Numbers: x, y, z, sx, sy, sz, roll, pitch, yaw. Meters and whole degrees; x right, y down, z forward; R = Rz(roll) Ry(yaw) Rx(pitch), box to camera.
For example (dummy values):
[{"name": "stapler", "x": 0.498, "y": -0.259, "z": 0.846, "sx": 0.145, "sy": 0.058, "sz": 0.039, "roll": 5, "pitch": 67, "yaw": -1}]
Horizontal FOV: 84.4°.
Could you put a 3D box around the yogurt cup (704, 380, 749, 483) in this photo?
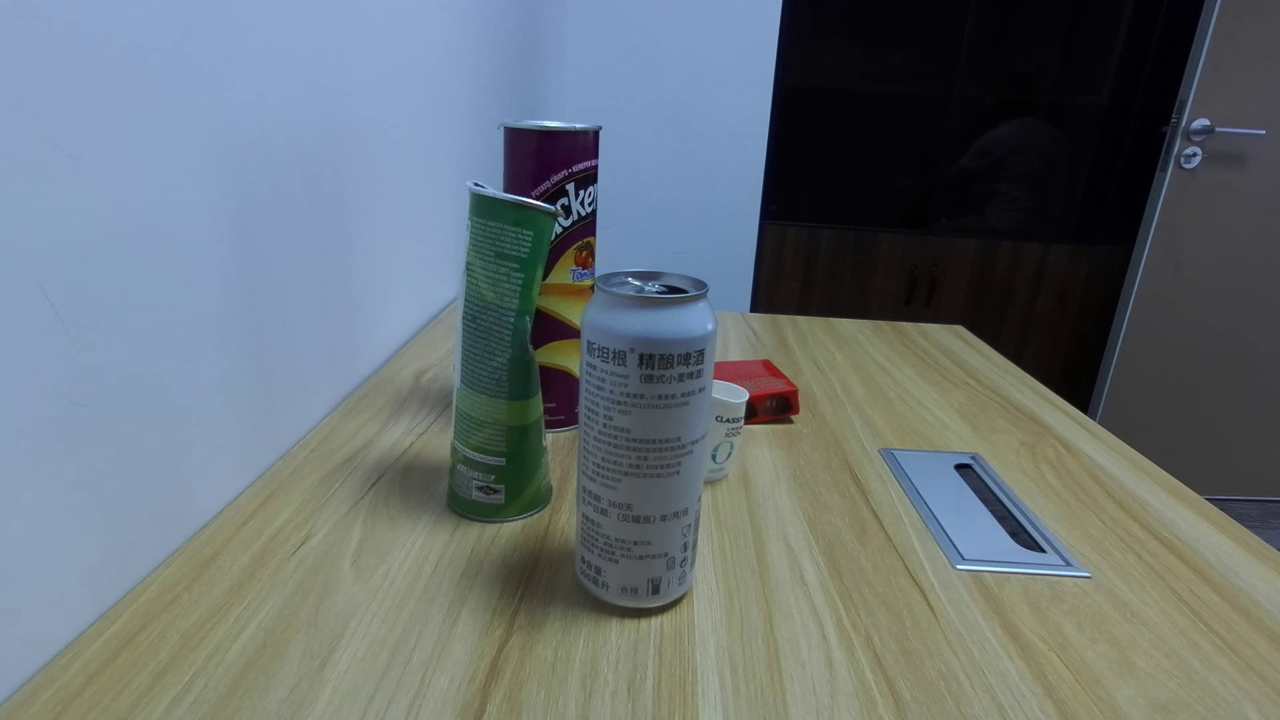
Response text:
[{"name": "yogurt cup", "x": 0.043, "y": 0.042, "z": 0.509, "sx": 0.075, "sy": 0.071, "sz": 0.054, "roll": 17, "pitch": 25, "yaw": 25}]

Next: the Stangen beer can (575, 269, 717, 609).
[{"name": "Stangen beer can", "x": 0.002, "y": 0.042, "z": 0.363, "sx": 0.067, "sy": 0.171, "sz": 0.067, "roll": 3, "pitch": 19, "yaw": -1}]

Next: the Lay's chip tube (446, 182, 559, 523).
[{"name": "Lay's chip tube", "x": -0.087, "y": -0.004, "z": 0.438, "sx": 0.077, "sy": 0.201, "sz": 0.069, "roll": 12, "pitch": 20, "yaw": 17}]

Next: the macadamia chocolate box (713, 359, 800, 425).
[{"name": "macadamia chocolate box", "x": 0.072, "y": 0.029, "z": 0.631, "sx": 0.126, "sy": 0.056, "sz": 0.112, "roll": 2, "pitch": 31, "yaw": -5}]

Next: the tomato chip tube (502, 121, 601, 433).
[{"name": "tomato chip tube", "x": -0.067, "y": -0.056, "z": 0.546, "sx": 0.080, "sy": 0.234, "sz": 0.076, "roll": -4, "pitch": 7, "yaw": -32}]
